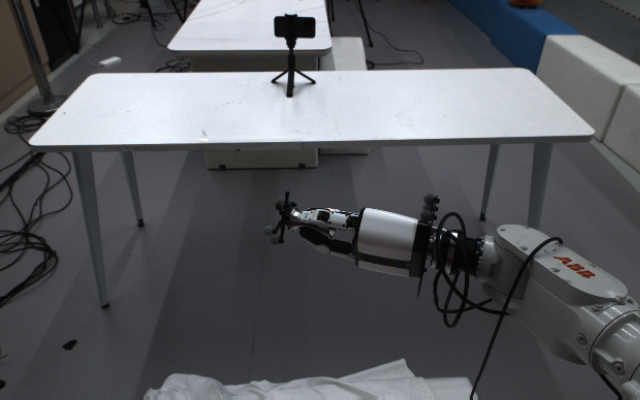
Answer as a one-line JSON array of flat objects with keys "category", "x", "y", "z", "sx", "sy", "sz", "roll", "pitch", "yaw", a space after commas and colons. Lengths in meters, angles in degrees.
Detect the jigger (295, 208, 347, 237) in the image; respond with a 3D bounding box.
[{"category": "jigger", "x": -0.005, "y": 0.032, "z": 0.786, "sx": 0.071, "sy": 0.043, "sz": 0.043, "roll": 9, "pitch": 35, "yaw": 16}]
